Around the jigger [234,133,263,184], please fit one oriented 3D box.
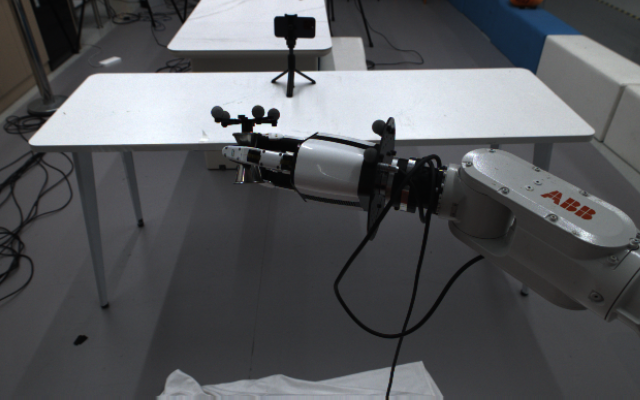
[{"bbox_3d":[-0.099,-0.056,0.660,0.043,0.071,0.043,-2,3,0],"label":"jigger"}]
